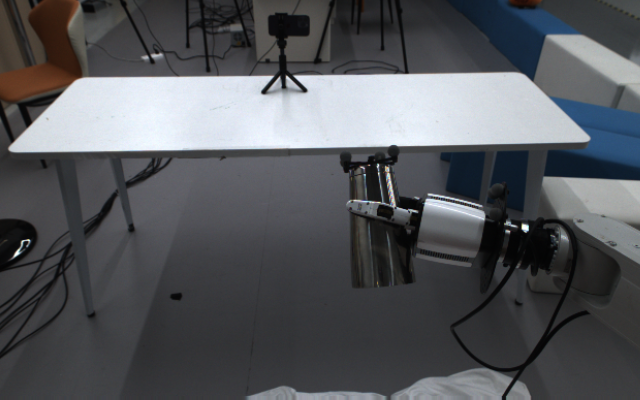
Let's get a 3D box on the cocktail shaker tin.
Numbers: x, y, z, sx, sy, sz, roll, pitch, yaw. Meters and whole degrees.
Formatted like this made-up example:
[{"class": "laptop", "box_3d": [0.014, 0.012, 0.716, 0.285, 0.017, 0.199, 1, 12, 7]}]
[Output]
[{"class": "cocktail shaker tin", "box_3d": [0.084, 0.038, 0.705, 0.093, 0.170, 0.093, -6, -7, -1]}]
